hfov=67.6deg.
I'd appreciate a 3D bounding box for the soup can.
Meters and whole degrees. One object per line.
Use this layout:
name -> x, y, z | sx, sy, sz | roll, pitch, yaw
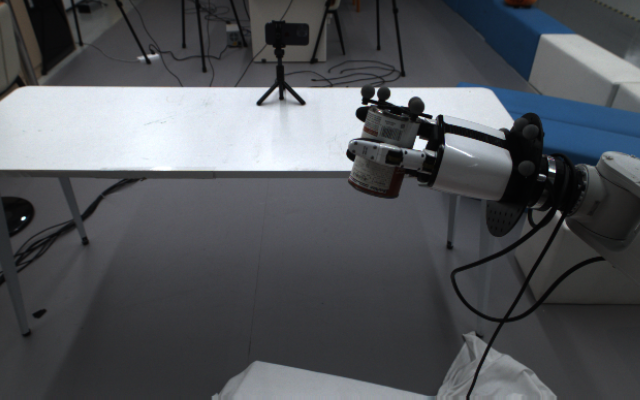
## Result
soup can -> 0.082, -0.062, 0.610 | 0.067, 0.101, 0.067 | 13, 18, -4
